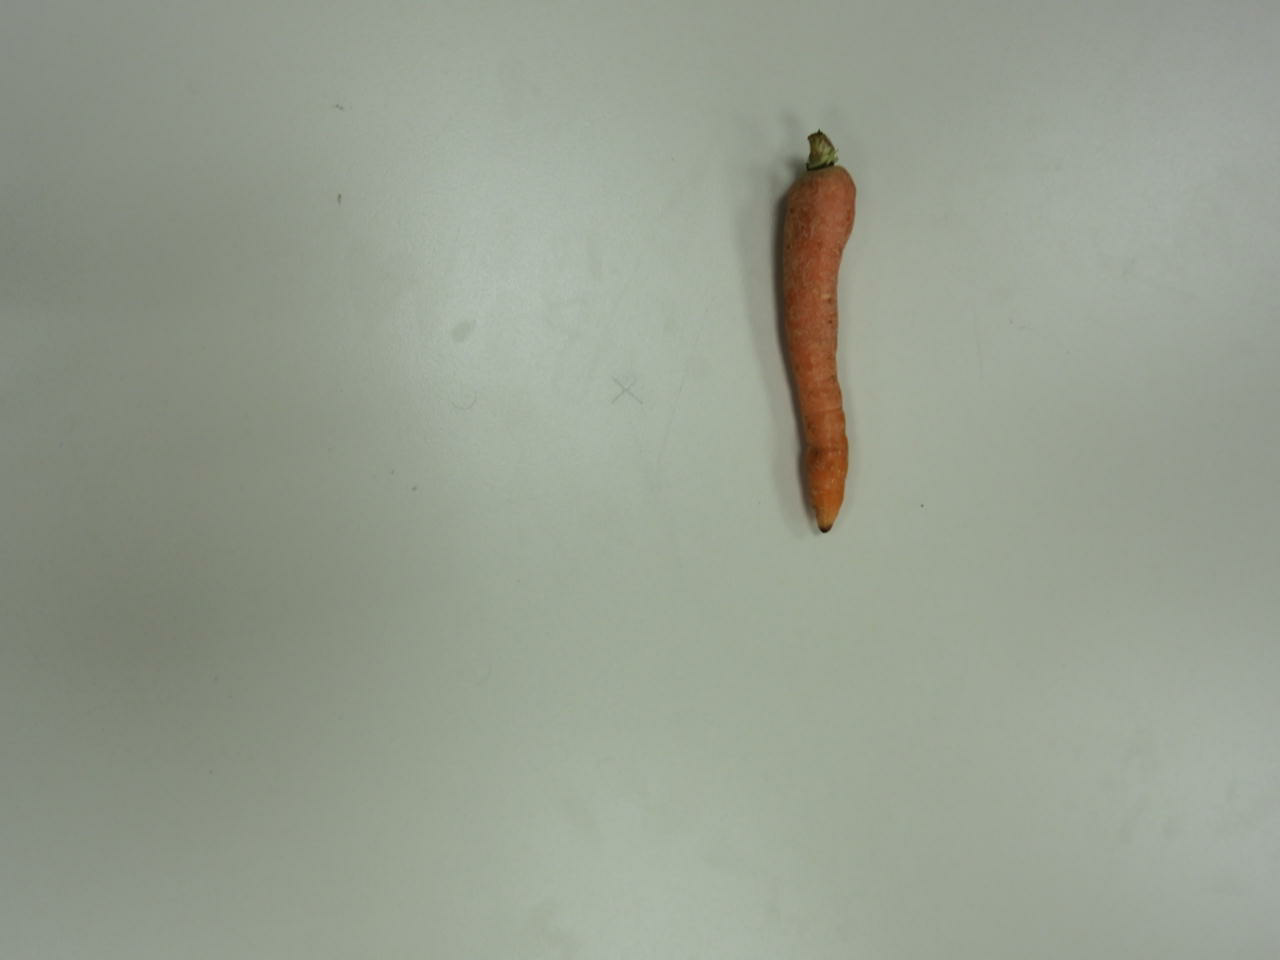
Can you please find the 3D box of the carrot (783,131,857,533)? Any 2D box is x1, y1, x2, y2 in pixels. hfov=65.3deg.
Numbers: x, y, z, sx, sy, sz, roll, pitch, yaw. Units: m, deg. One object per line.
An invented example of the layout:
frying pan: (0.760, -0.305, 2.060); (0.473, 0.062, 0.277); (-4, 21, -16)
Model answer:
carrot: (0.078, -0.063, 0.437); (0.030, 0.032, 0.173); (-1, 91, -12)
